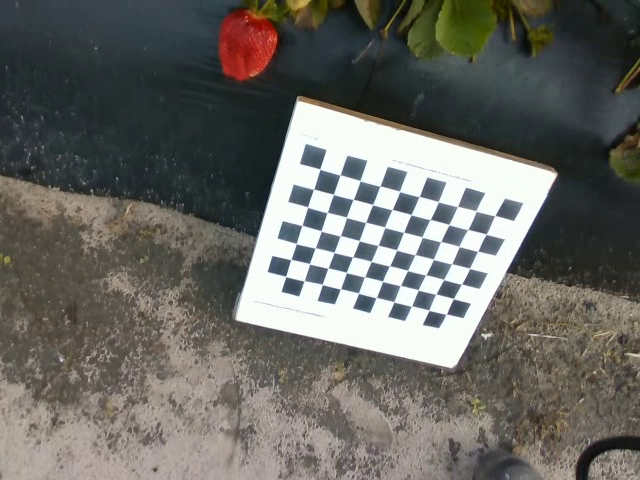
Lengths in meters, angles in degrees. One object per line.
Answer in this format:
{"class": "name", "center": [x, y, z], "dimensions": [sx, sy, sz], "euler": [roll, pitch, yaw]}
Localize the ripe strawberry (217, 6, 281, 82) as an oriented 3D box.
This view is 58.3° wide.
{"class": "ripe strawberry", "center": [-0.080, -0.200, 0.589], "dimensions": [0.067, 0.075, 0.039], "euler": [19, 23, -8]}
